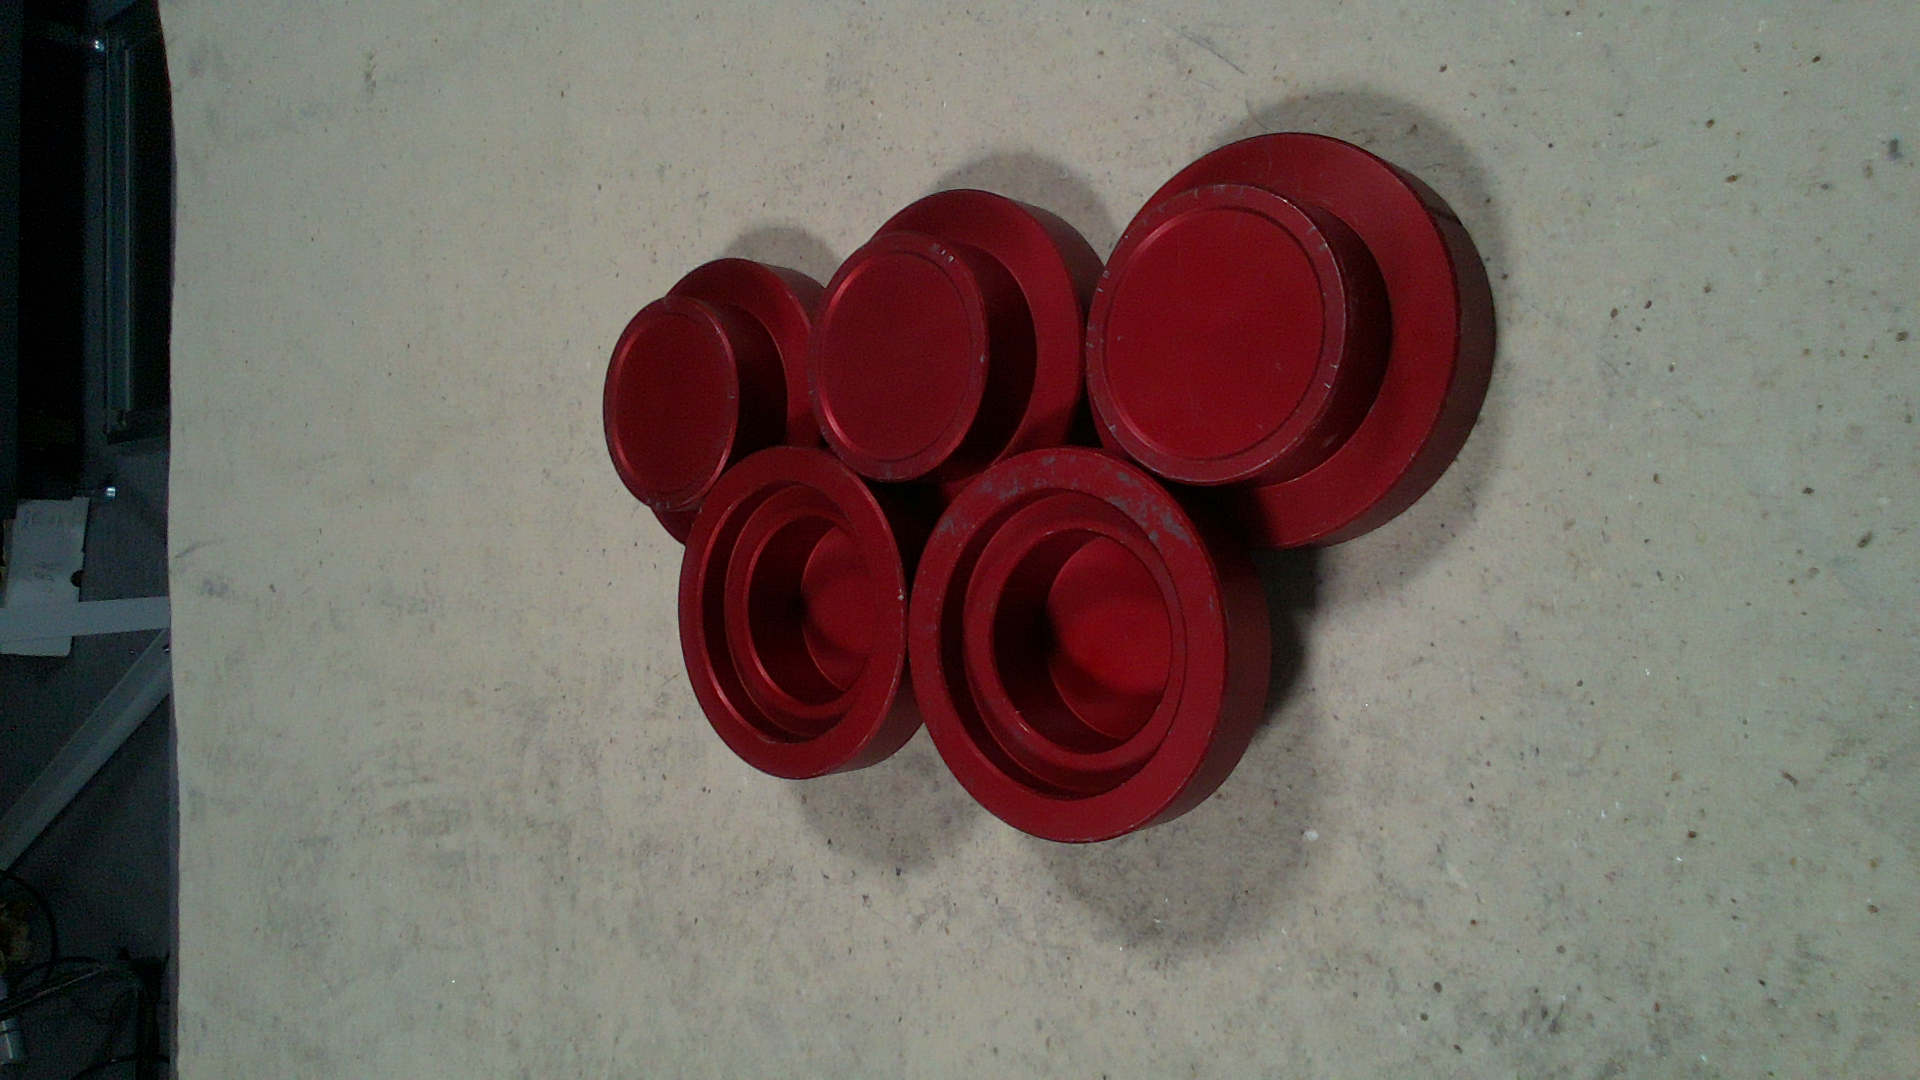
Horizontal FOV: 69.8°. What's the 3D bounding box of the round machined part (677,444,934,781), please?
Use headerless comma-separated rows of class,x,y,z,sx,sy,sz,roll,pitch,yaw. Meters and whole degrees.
round machined part,-0.039,0.021,0.416,0.098,0.042,0.098,0,90,40

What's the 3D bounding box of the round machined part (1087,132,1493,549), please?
round machined part,0.070,-0.047,0.325,0.098,0.042,0.098,0,90,40

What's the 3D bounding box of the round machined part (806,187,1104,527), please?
round machined part,-0.005,-0.050,0.388,0.098,0.042,0.098,0,90,40

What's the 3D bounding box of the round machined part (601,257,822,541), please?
round machined part,-0.080,-0.044,0.452,0.098,0.042,0.098,0,90,40

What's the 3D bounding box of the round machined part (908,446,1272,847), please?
round machined part,0.036,0.026,0.353,0.098,0.042,0.098,0,90,40
